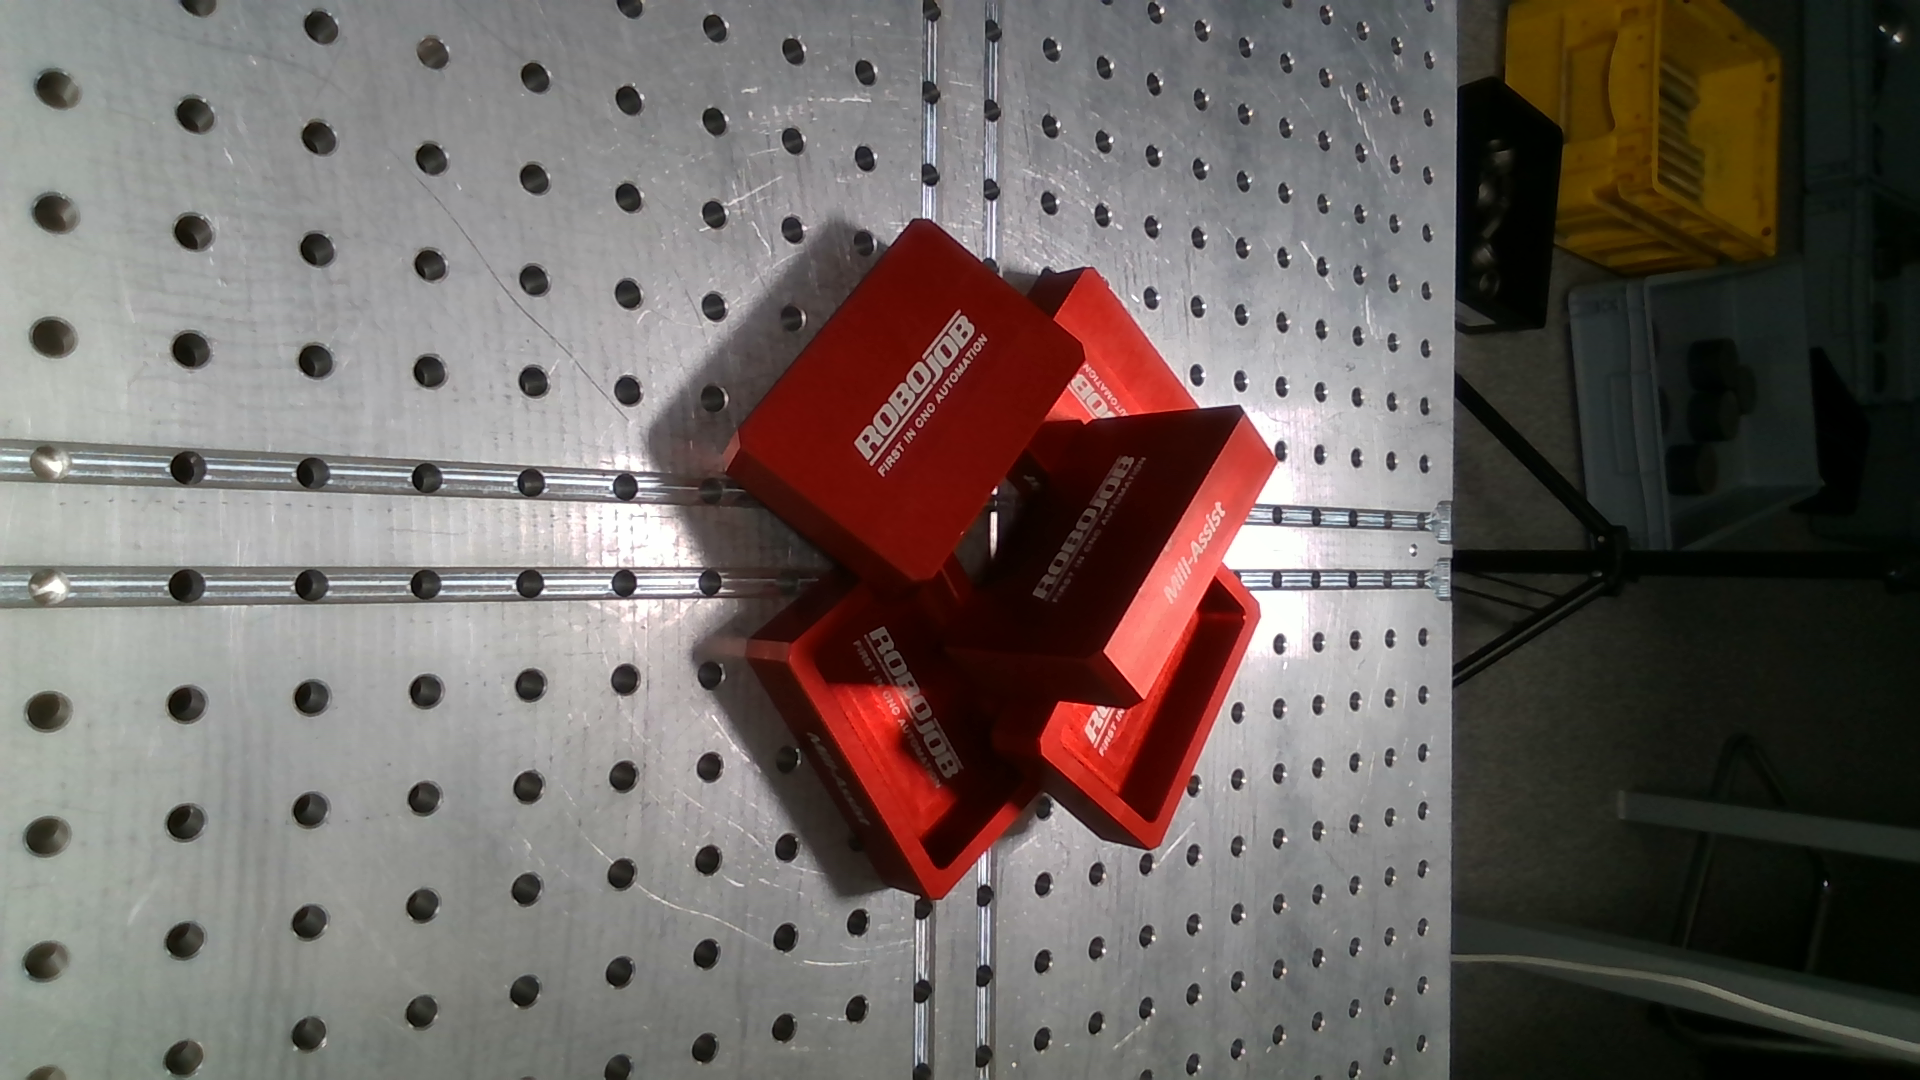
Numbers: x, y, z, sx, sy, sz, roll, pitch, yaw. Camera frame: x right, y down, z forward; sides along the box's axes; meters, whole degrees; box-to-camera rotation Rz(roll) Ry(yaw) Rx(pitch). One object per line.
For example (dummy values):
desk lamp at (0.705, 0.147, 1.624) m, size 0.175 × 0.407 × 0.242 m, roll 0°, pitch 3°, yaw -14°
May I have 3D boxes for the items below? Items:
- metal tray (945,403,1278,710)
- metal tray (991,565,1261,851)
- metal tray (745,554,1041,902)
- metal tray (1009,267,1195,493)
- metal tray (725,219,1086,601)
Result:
metal tray at (0.061, 0.004, 0.555) m, size 0.030 × 0.090 × 0.130 m, roll 48°, pitch 61°, yaw -29°
metal tray at (0.077, 0.058, 0.608) m, size 0.090 × 0.030 × 0.130 m, roll 44°, pitch 64°, yaw -31°
metal tray at (-0.020, 0.070, 0.565) m, size 0.090 × 0.030 × 0.130 m, roll -41°, pitch 115°, yaw -32°
metal tray at (0.065, -0.049, 0.637) m, size 0.130 × 0.030 × 0.090 m, roll 46°, pitch 62°, yaw -30°
metal tray at (-0.020, -0.053, 0.542) m, size 0.090 × 0.030 × 0.130 m, roll 38°, pitch 64°, yaw -6°
